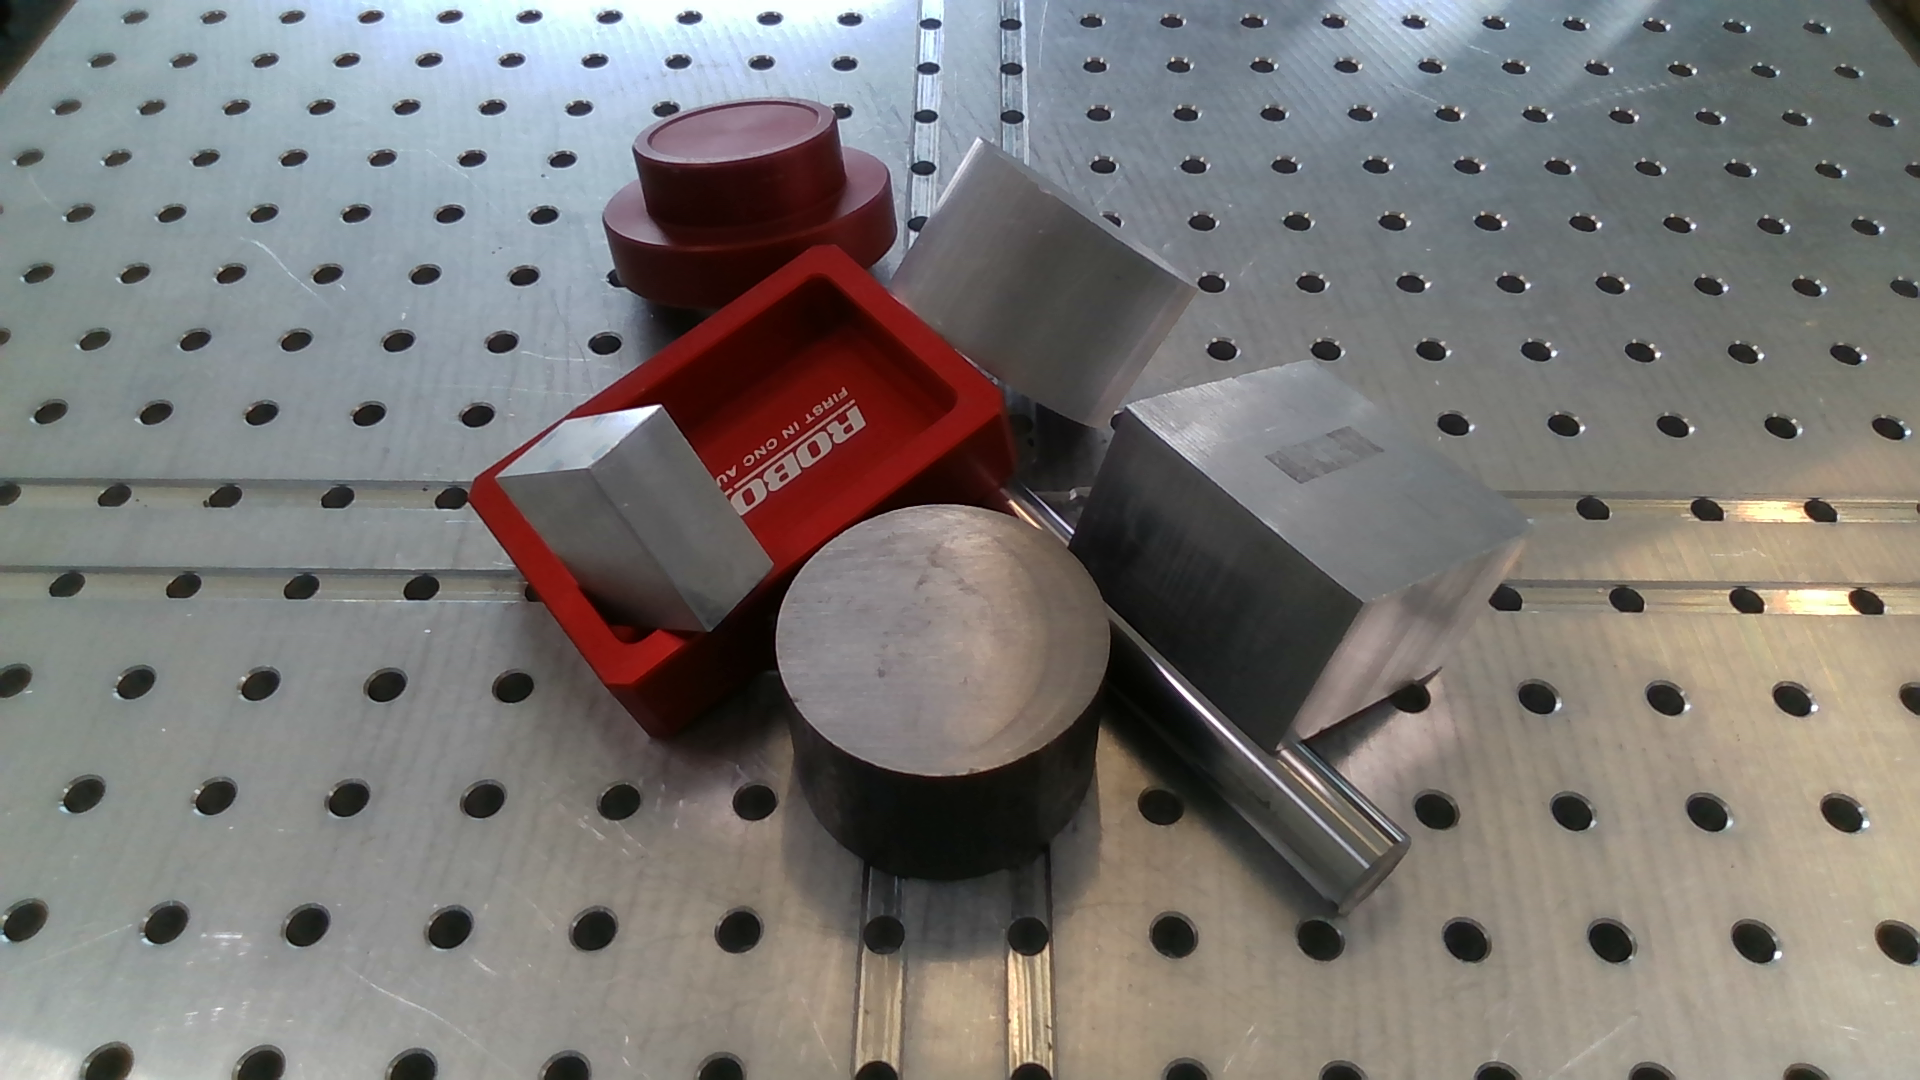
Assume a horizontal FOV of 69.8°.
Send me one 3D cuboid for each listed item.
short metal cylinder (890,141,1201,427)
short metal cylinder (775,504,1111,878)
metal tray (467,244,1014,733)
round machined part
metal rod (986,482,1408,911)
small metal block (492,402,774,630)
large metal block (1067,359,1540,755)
[{"bbox_3d":[0.026,-0.078,0.419,0.080,0.050,0.080,31,17,-10],"label":"short metal cylinder"},{"bbox_3d":[-0.004,0.037,0.349,0.080,0.050,0.080,0,50,0],"label":"short metal cylinder"},{"bbox_3d":[-0.061,-0.019,0.391,0.130,0.030,0.090,-38,58,-12],"label":"metal tray"},{"bbox_3d":[-0.073,-0.119,0.468,0.098,0.042,0.098,-5,34,3],"label":"round machined part"},{"bbox_3d":[0.007,-0.009,0.407,0.025,0.025,0.299,-31,56,-23],"label":"metal rod"},{"bbox_3d":[-0.083,-0.005,0.347,0.050,0.050,0.025,0,41,48],"label":"small metal block"},{"bbox_3d":[0.089,0.000,0.365,0.080,0.050,0.080,-16,49,-39],"label":"large metal block"}]
